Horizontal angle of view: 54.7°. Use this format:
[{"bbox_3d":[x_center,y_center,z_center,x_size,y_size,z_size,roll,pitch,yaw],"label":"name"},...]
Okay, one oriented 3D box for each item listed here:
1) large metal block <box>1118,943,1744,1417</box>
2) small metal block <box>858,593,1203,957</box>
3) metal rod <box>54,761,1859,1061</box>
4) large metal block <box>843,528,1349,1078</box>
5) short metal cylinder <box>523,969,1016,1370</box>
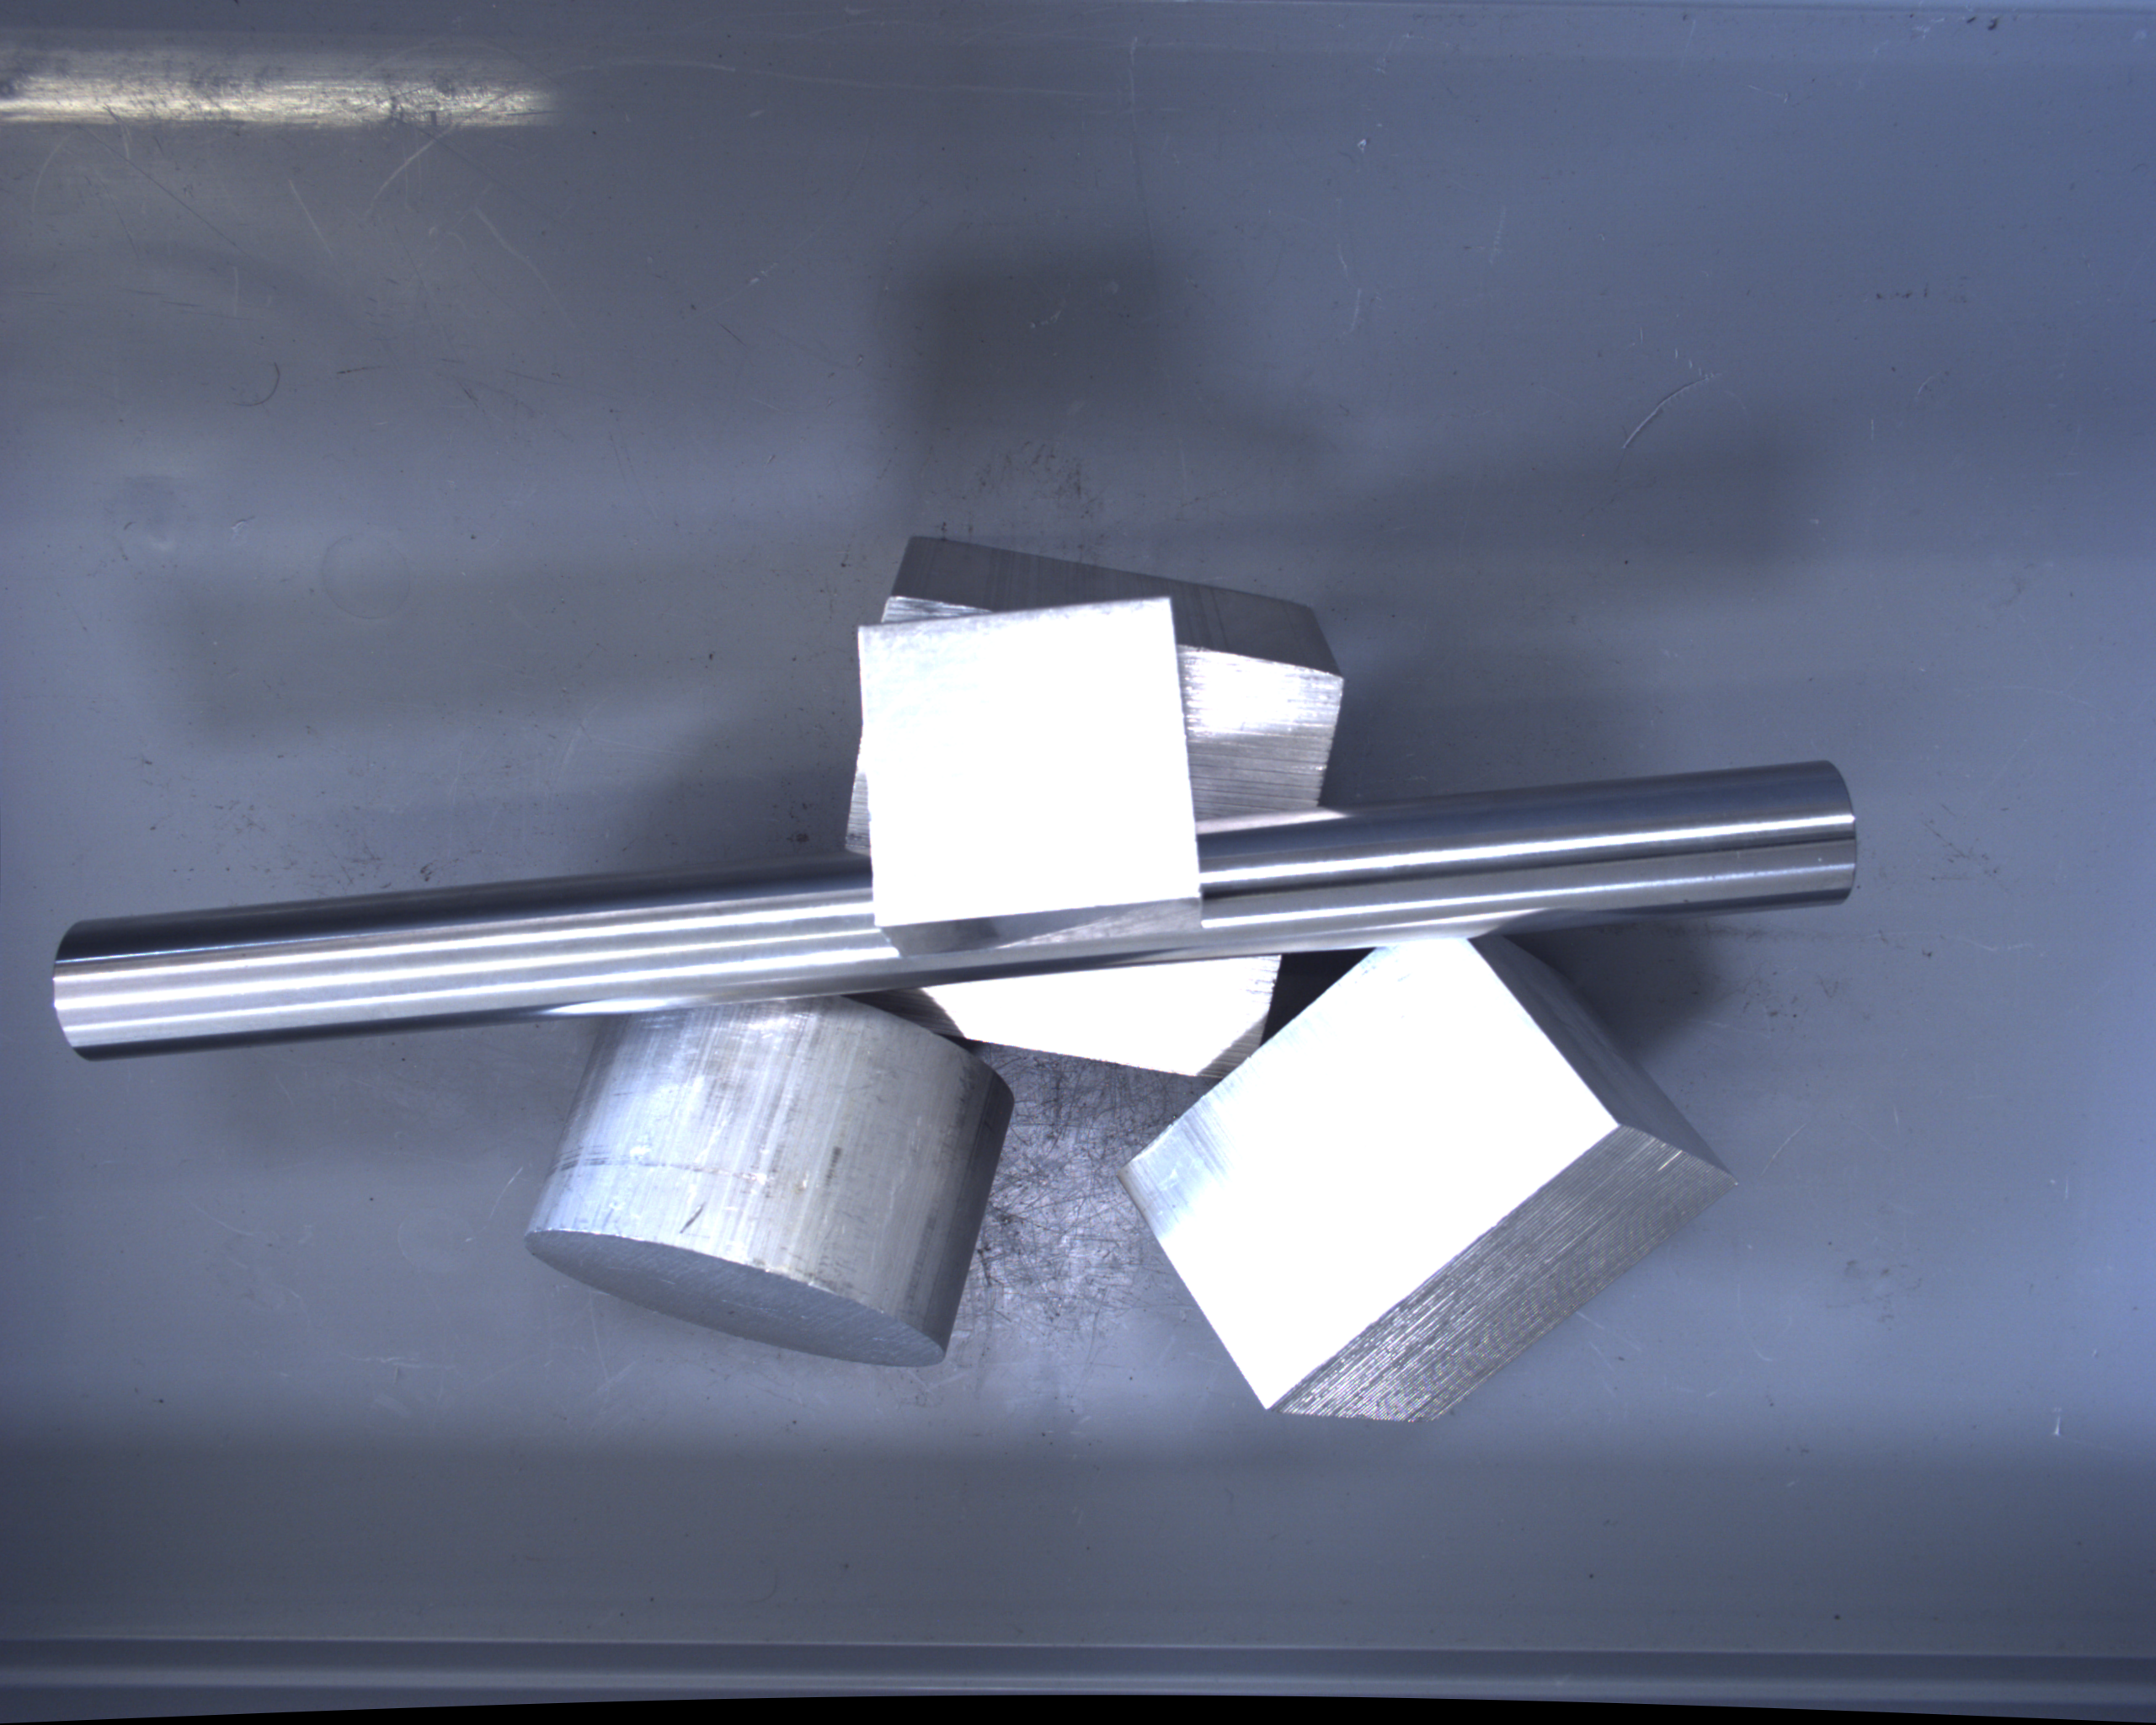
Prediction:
[{"bbox_3d":[0.069,0.060,0.396,0.080,0.050,0.080,-43,149,14],"label":"large metal block"},{"bbox_3d":[-0.007,-0.013,0.338,0.050,0.025,0.050,-5,75,2],"label":"small metal block"},{"bbox_3d":[-0.022,0.009,0.359,0.302,0.025,0.025,-5,110,2],"label":"metal rod"},{"bbox_3d":[-0.001,-0.012,0.392,0.081,0.050,0.079,10,110,-4],"label":"large metal block"},{"bbox_3d":[-0.057,0.060,0.395,0.080,0.080,0.050,18,66,-7],"label":"short metal cylinder"}]
